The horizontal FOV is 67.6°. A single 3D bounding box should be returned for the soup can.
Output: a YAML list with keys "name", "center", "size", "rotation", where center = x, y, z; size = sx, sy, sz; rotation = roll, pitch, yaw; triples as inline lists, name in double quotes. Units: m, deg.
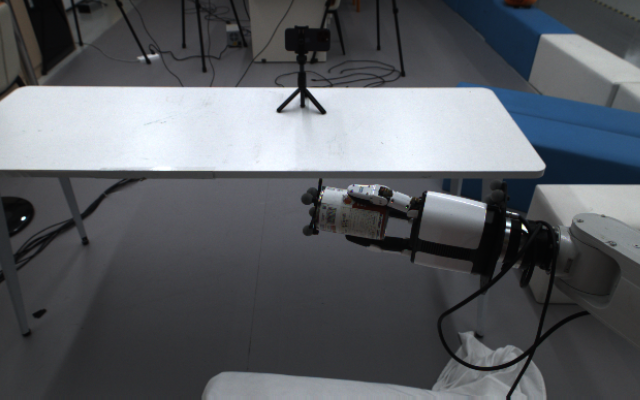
- name: "soup can"
  center: [0.052, 0.019, 0.717]
  size: [0.101, 0.067, 0.067]
  rotation: [9, 35, 9]
